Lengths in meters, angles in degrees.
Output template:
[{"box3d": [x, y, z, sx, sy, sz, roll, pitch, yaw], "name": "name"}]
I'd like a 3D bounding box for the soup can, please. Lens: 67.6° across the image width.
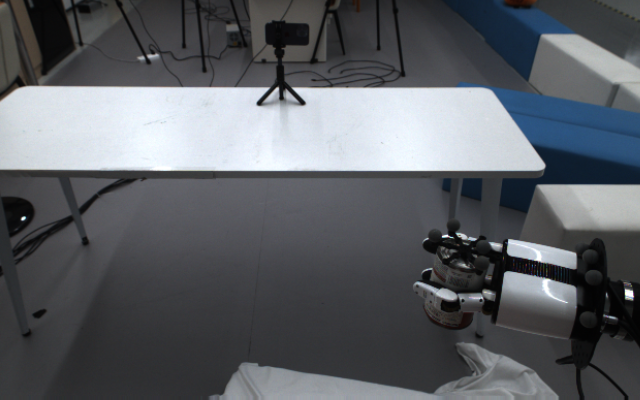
[{"box3d": [0.180, 0.110, 0.639, 0.067, 0.101, 0.067, 4, 30, -2], "name": "soup can"}]
